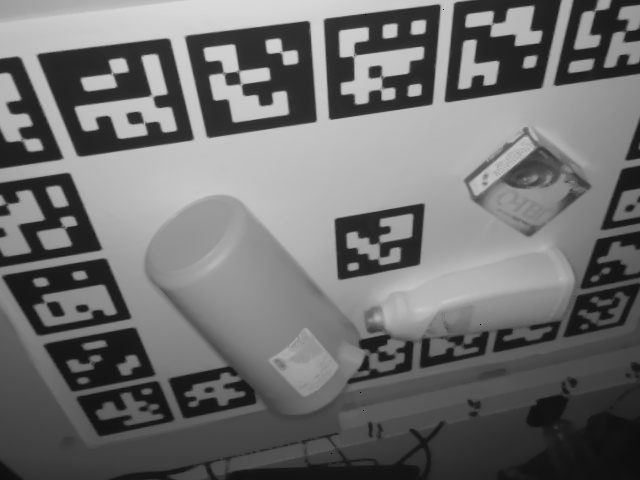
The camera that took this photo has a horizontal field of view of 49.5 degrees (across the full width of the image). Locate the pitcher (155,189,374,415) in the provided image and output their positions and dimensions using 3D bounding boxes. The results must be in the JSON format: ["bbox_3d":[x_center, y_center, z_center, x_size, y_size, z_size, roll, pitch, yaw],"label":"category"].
[{"bbox_3d":[-0.066,0.064,0.727,0.186,0.135,0.243,-4,136,37],"label":"pitcher"}]

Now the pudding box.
[{"bbox_3d":[0.240,-0.055,0.736,0.115,0.039,0.089,30,123,-32],"label":"pudding box"}]

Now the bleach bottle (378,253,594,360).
[{"bbox_3d":[0.195,0.089,0.838,0.251,0.068,0.102,-11,127,-3],"label":"bleach bottle"}]
